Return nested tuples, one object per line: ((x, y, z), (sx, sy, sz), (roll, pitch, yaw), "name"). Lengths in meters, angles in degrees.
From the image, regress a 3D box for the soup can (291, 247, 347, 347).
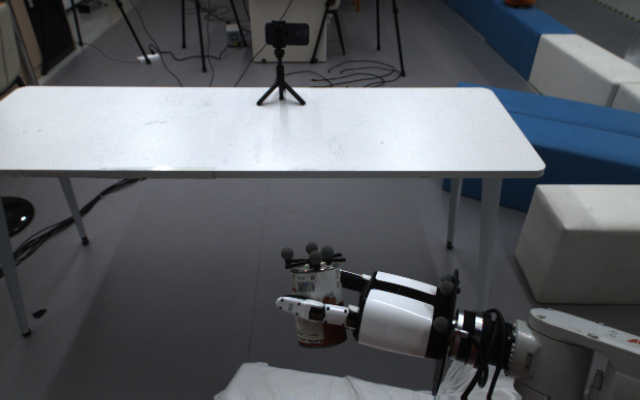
((0.001, 0.136, 0.640), (0.067, 0.101, 0.067), (-7, 3, 0), "soup can")
